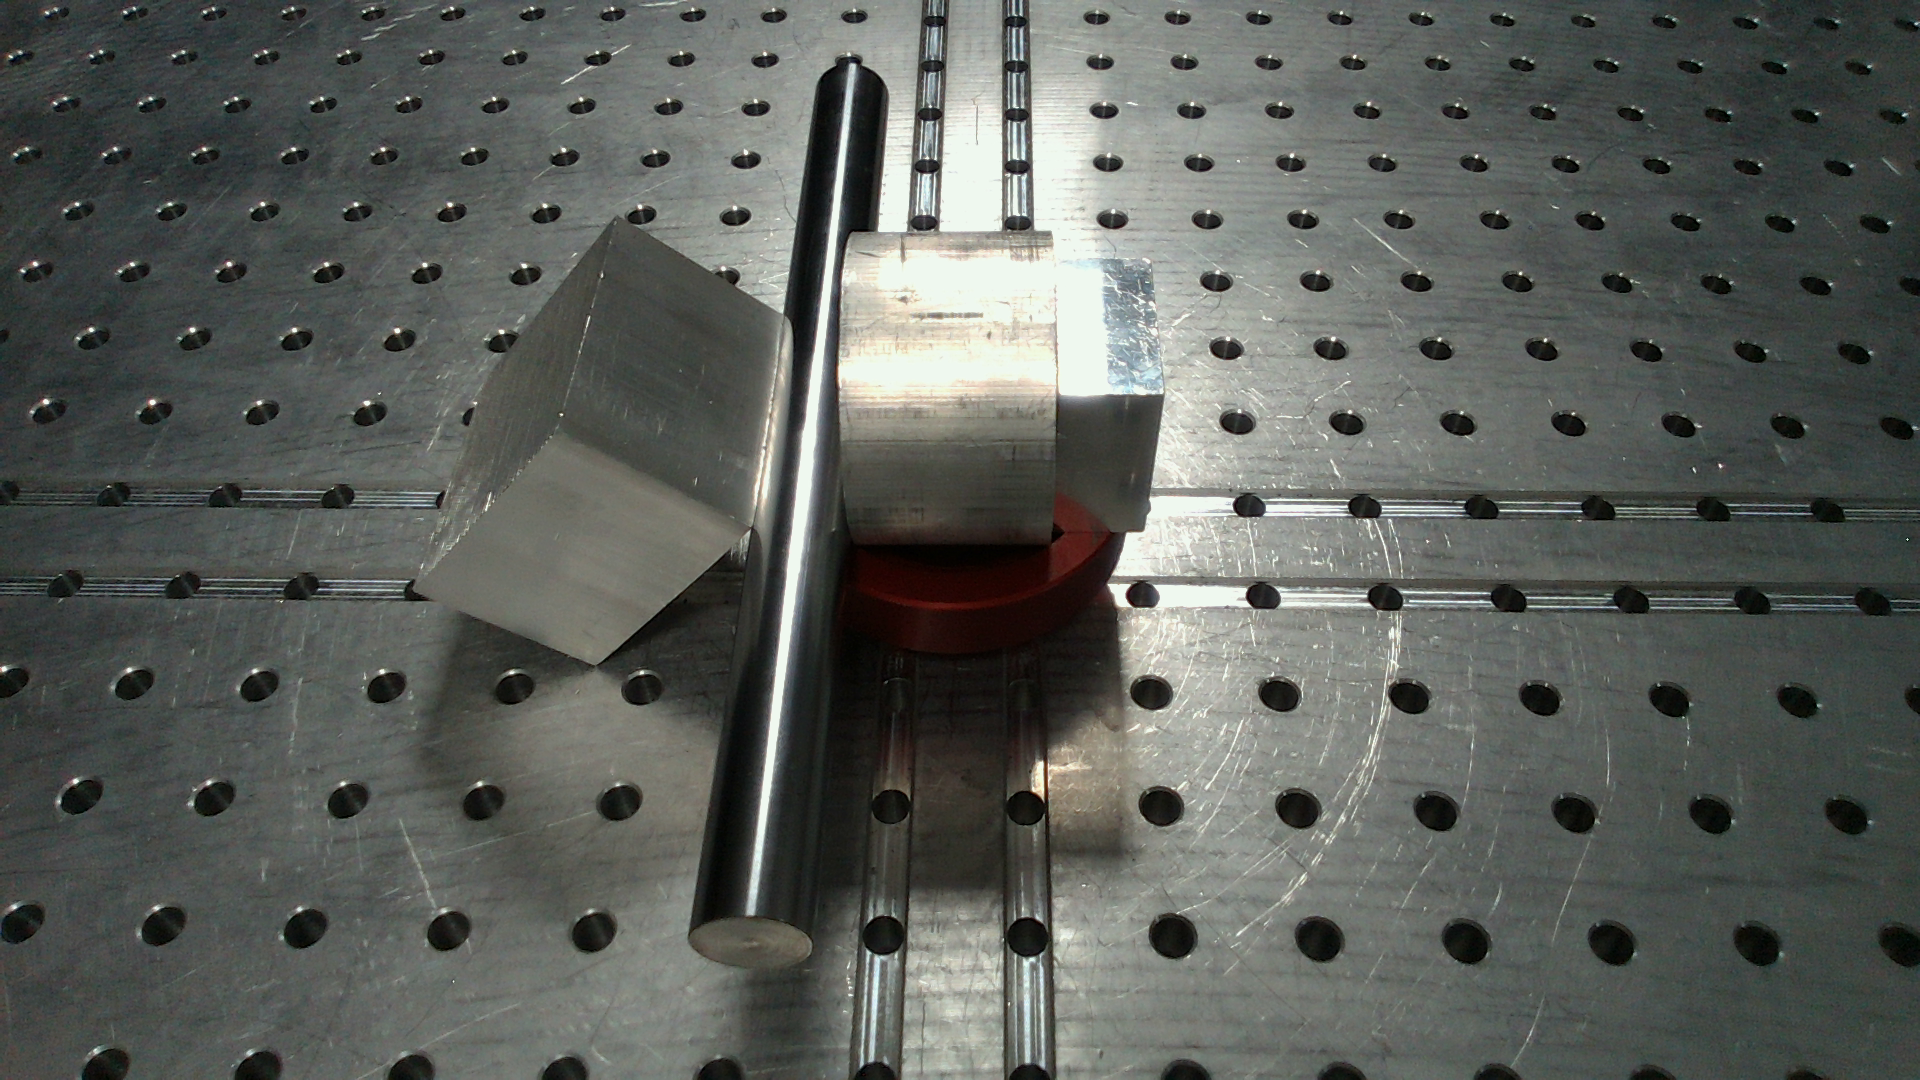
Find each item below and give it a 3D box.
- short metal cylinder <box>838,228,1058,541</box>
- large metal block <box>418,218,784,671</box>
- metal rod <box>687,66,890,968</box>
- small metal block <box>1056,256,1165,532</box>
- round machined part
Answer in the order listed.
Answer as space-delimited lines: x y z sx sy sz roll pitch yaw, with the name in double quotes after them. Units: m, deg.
-0.002 -0.039 0.352 0.050 0.080 0.080 1 50 1 "short metal cylinder"
-0.095 -0.024 0.372 0.050 0.080 0.080 30 42 -29 "large metal block"
-0.039 -0.035 0.370 0.025 0.025 0.300 1 50 1 "metal rod"
0.036 -0.037 0.355 0.025 0.050 0.050 1 50 1 "small metal block"
-0.001 -0.008 0.389 0.098 0.042 0.098 0 50 0 "round machined part"
